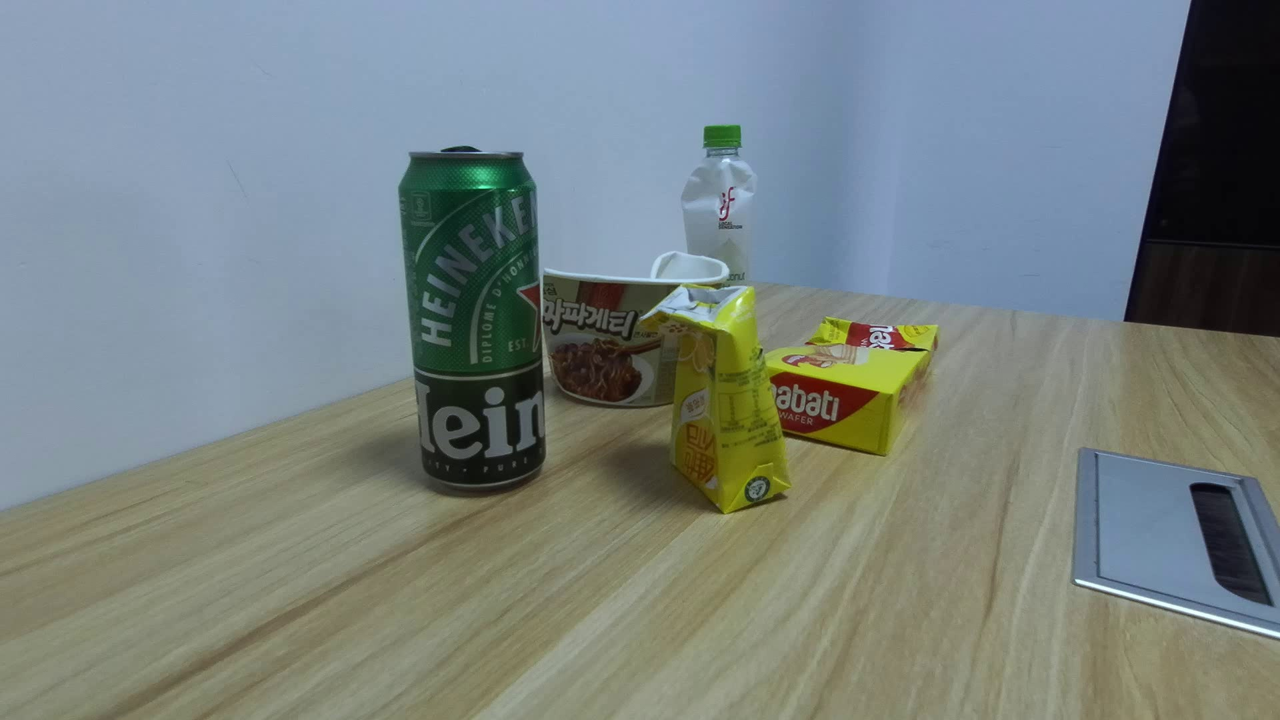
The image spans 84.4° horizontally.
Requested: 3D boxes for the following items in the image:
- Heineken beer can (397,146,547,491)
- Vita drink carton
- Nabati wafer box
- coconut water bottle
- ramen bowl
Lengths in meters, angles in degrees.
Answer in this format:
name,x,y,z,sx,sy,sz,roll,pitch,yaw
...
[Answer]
name,x,y,z,sx,sy,sz,roll,pitch,yaw
Heineken beer can,-0.084,-0.019,0.365,0.067,0.169,0.067,0,17,0
Vita drink carton,0.036,0.017,0.359,0.042,0.108,0.086,-20,18,-16
Nabati wafer box,0.151,0.006,0.511,0.106,0.042,0.205,11,19,27
coconut water bottle,0.067,-0.099,0.598,0.069,0.186,0.069,-1,14,1
ramen bowl,-0.006,-0.024,0.510,0.137,0.098,0.137,-2,18,1
